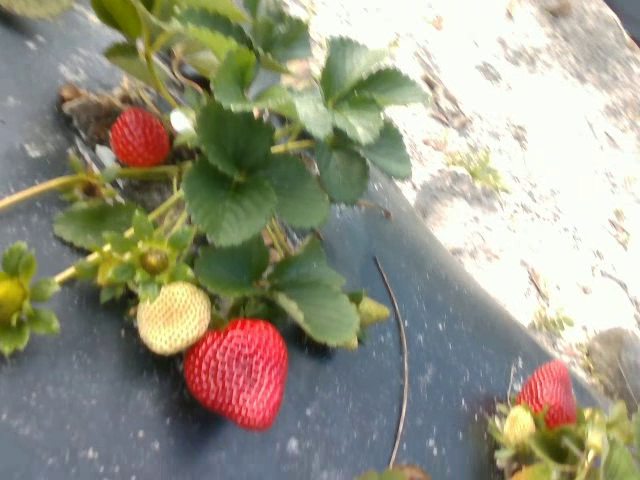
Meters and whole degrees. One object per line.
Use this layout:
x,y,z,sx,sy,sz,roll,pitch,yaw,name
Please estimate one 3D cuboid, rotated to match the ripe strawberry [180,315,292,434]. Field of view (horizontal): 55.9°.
-0.036,0.064,0.261,0.051,0.048,0.055,-17,32,-5,ripe strawberry
